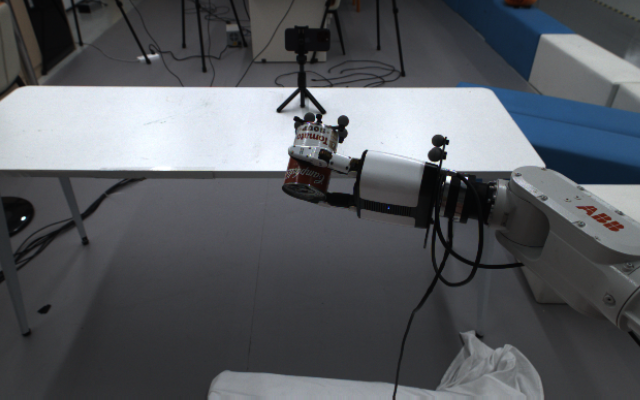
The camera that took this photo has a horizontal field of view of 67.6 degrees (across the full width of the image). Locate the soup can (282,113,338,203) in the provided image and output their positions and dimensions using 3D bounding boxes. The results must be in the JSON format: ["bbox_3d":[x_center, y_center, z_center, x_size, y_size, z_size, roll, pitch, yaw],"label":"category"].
[{"bbox_3d":[-0.013,-0.058,0.724,0.067,0.067,0.101,9,72,10],"label":"soup can"}]
